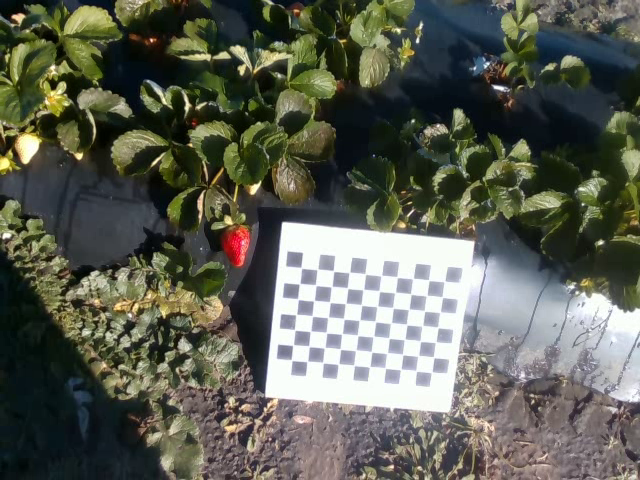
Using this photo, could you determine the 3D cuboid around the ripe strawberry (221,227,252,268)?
[{"bbox_3d":[-0.121,0.009,0.920,0.048,0.069,0.040,-12,3,-1],"label":"ripe strawberry"}]
